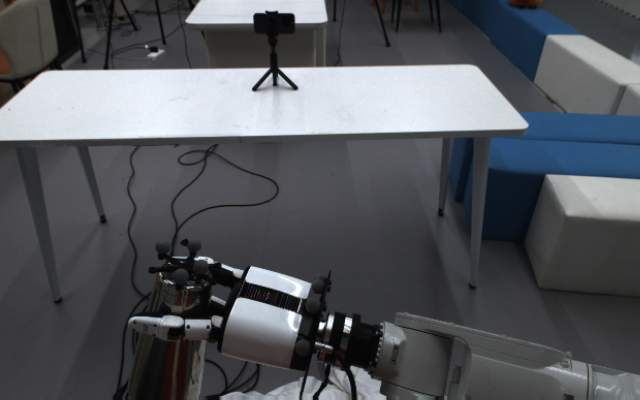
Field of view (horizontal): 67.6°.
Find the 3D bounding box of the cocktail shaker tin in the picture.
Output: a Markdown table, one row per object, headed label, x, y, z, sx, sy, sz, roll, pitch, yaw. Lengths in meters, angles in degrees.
| label | x | y | z | sx | sy | sz | roll | pitch | yaw |
| --- | --- | --- | --- | --- | --- | --- | --- | --- | --- |
| cocktail shaker tin | -0.181 | 0.164 | 0.607 | 0.093 | 0.170 | 0.093 | 14 | 18 | -5 |
